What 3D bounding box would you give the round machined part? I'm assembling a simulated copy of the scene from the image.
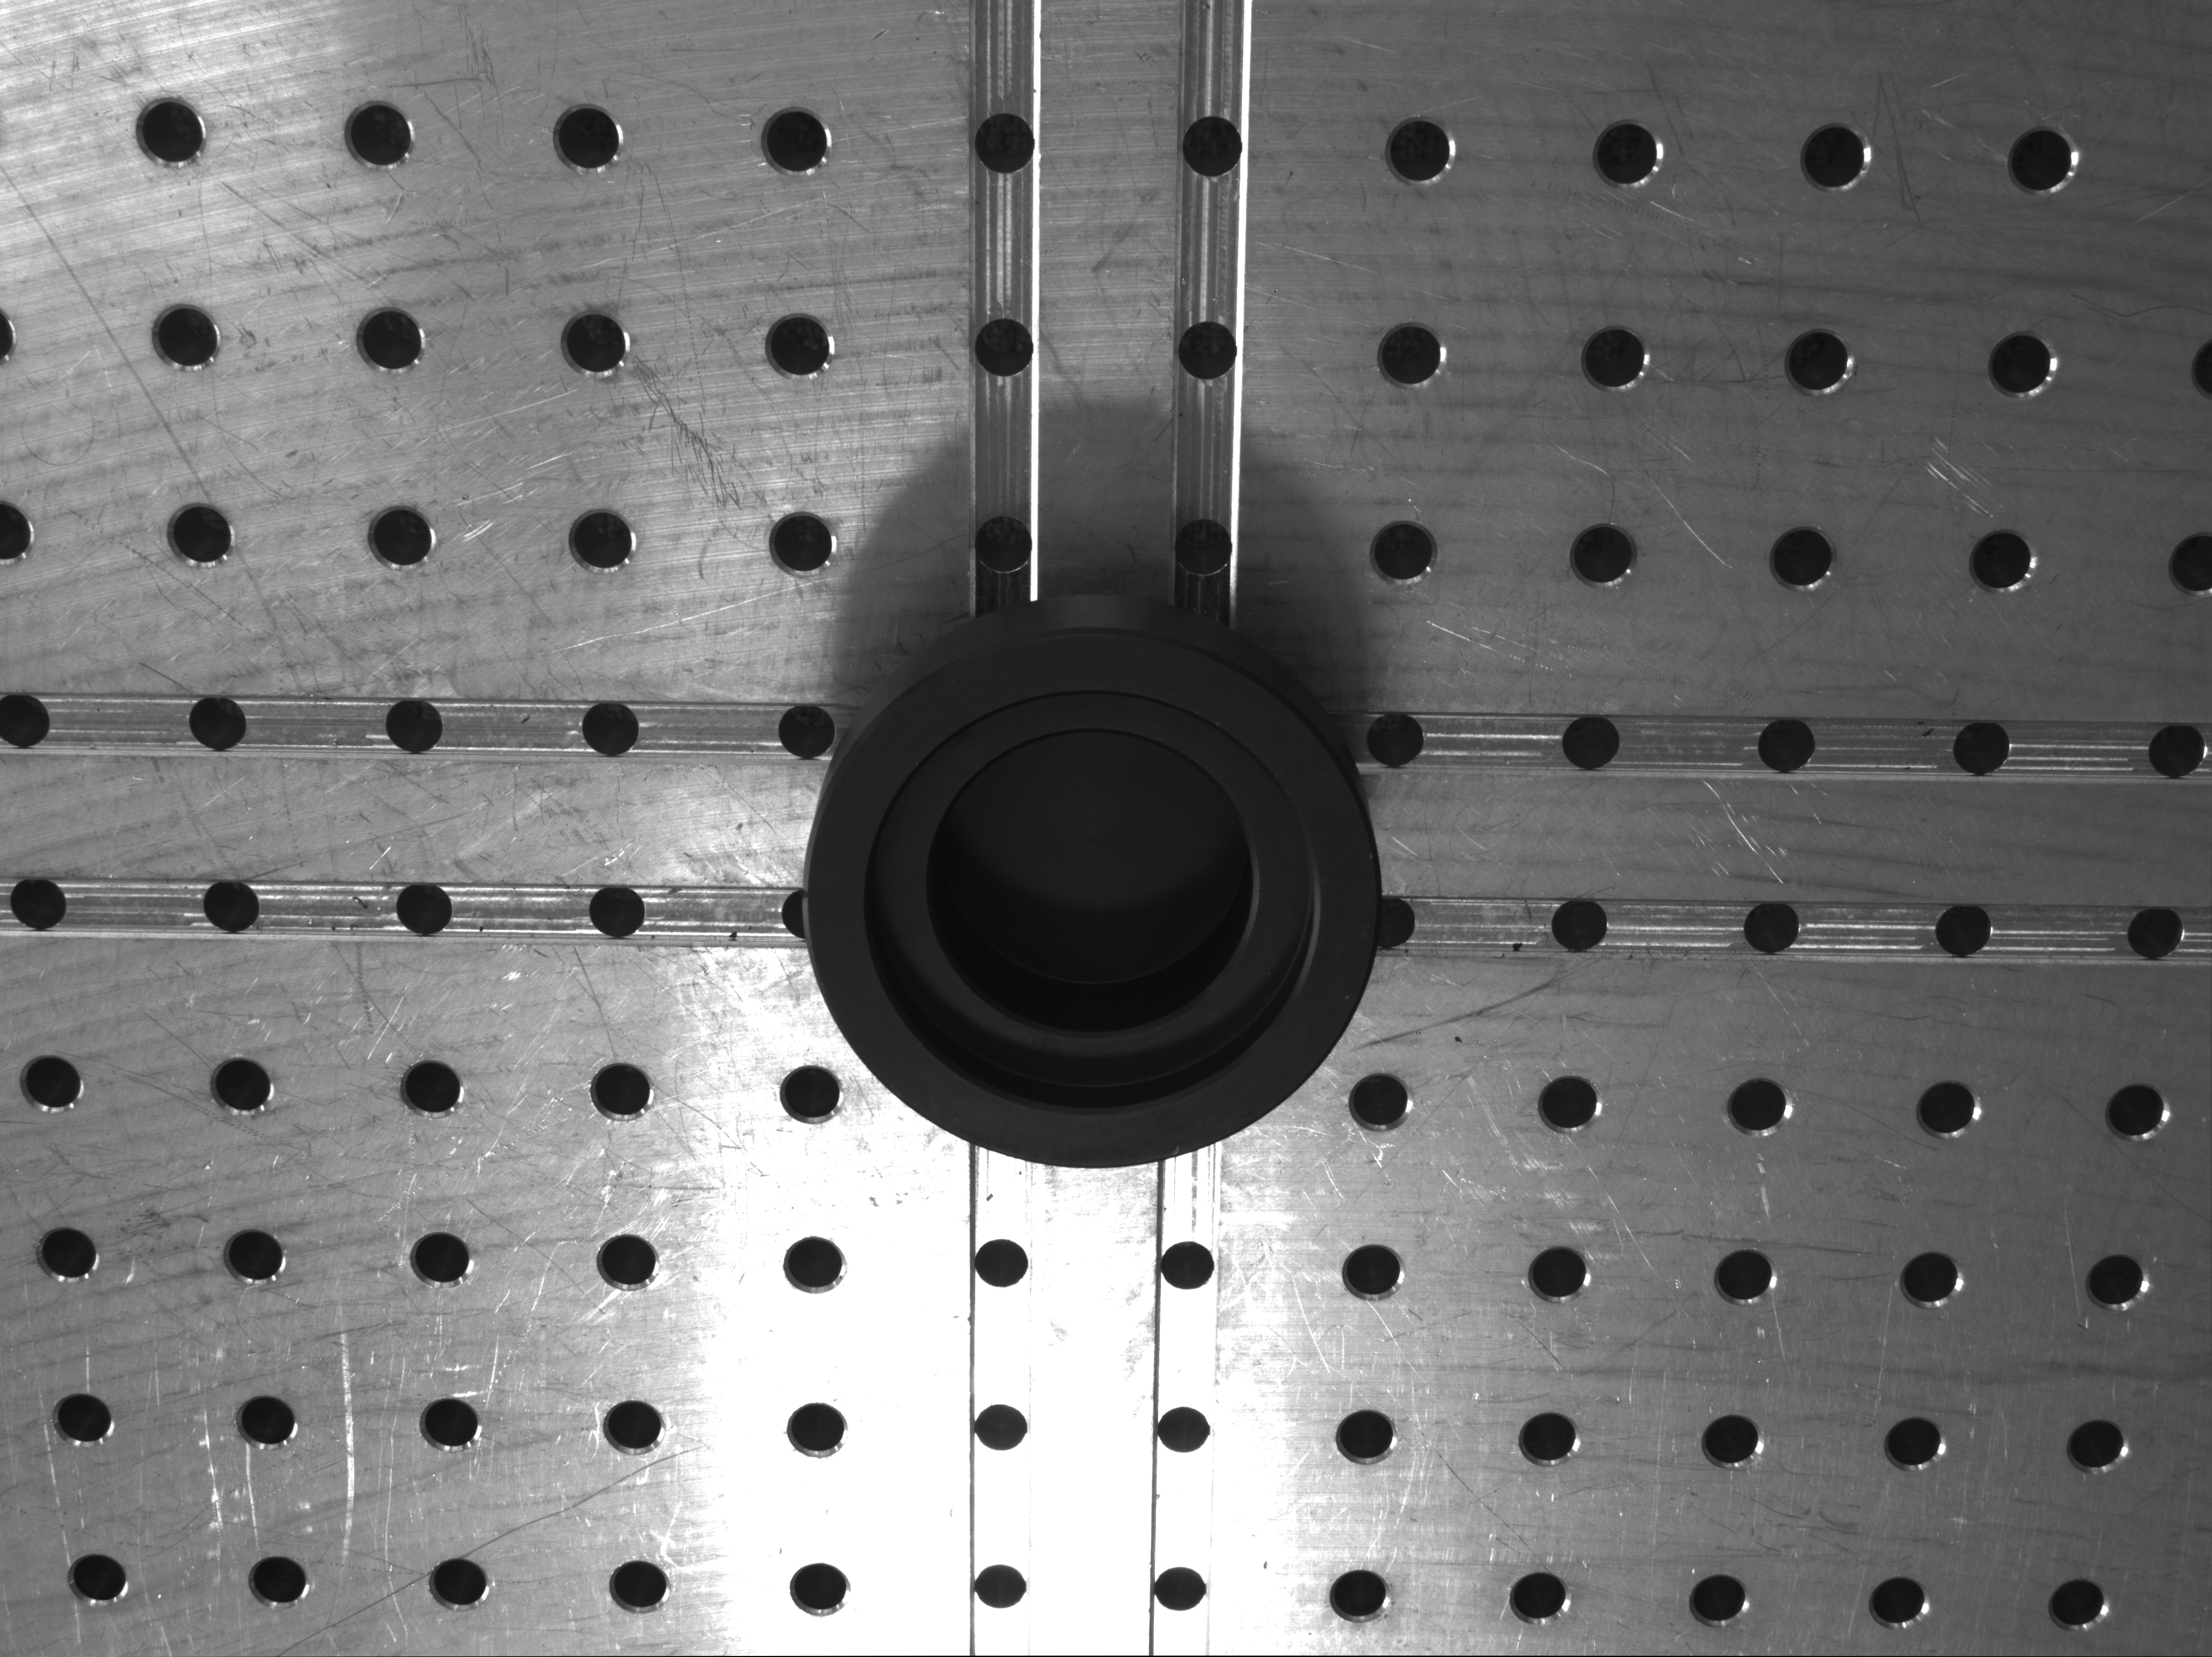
[{"bbox_3d":[-0.002,0.007,0.639,0.098,0.042,0.098,0,110,0],"label":"round machined part"}]
